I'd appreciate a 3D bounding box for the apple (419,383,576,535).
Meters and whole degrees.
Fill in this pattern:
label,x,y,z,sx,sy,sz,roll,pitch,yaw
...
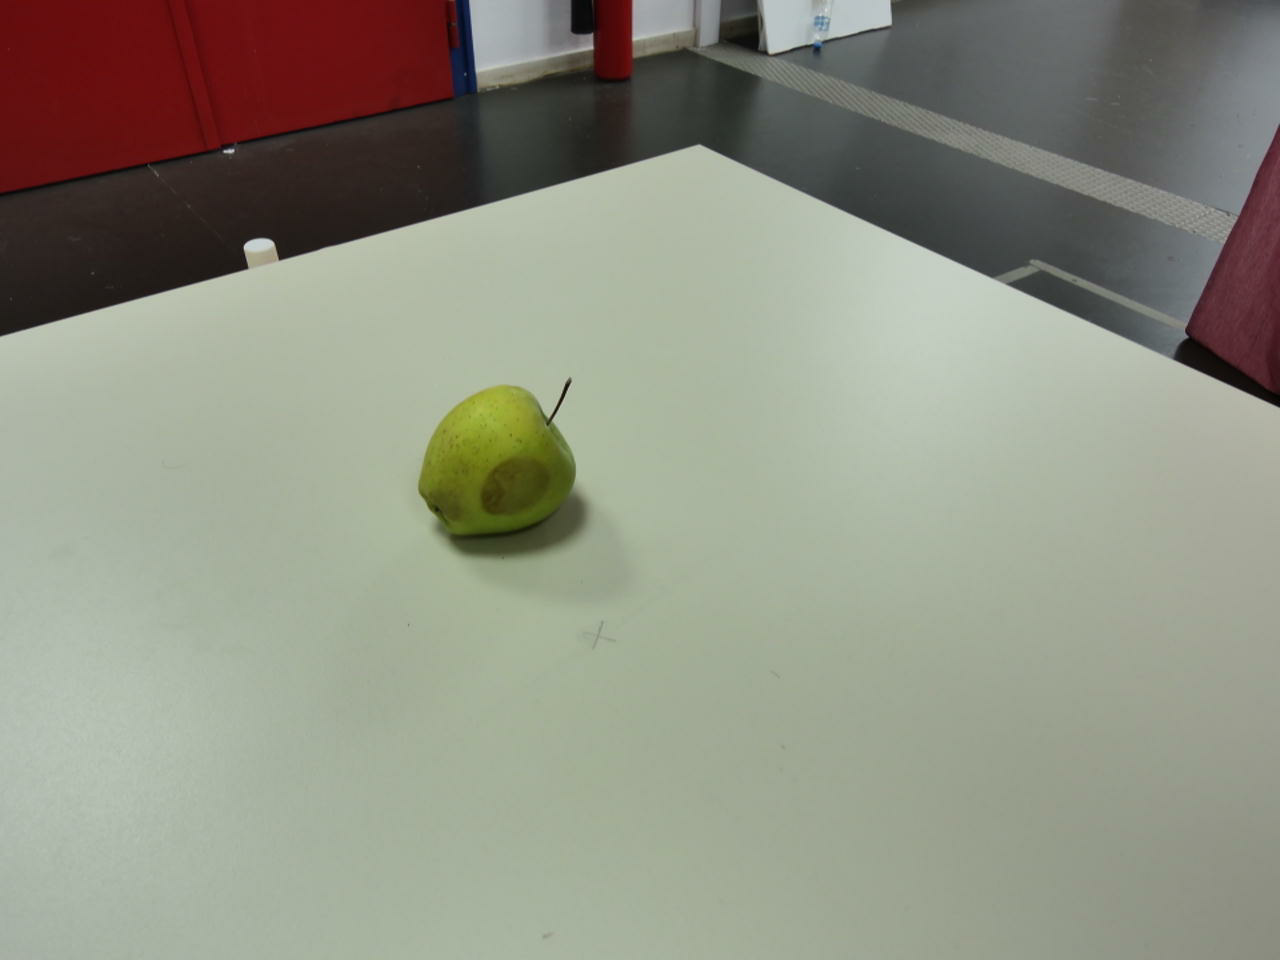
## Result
label,x,y,z,sx,sy,sz,roll,pitch,yaw
apple,-0.072,-0.011,0.510,0.077,0.075,0.072,5,38,4
